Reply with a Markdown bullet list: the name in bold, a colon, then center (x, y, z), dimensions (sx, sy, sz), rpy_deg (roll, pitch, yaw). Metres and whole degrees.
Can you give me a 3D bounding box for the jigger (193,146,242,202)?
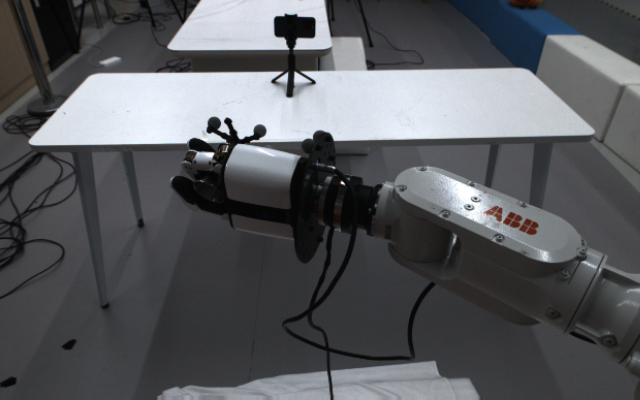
- **jigger**: center (-0.124, -0.035, 0.620), dimensions (0.043, 0.043, 0.071), rpy_deg (13, 58, 15)
